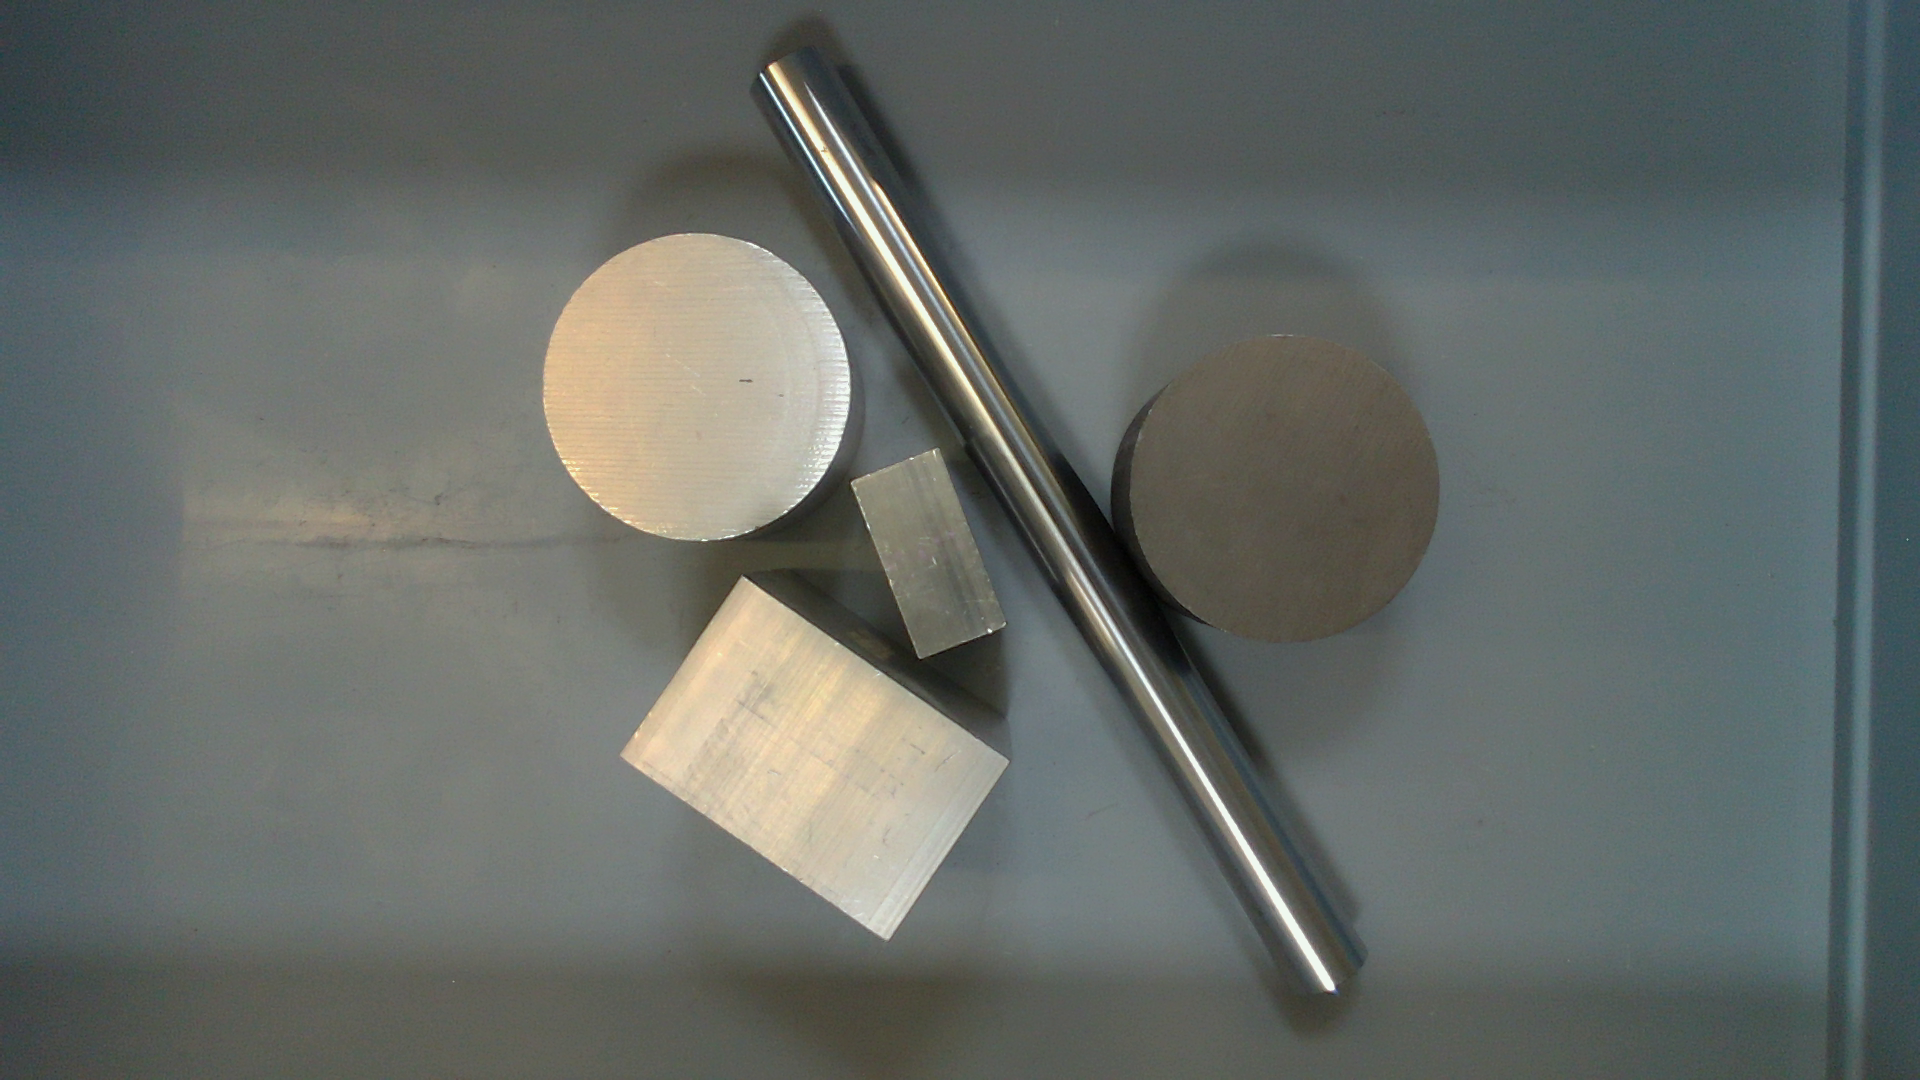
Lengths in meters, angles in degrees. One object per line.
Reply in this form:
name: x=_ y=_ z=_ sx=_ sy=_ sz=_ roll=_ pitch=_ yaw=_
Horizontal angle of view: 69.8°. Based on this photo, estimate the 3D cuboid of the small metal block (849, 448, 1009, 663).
small metal block: x=-0.008 y=0.004 z=0.381 sx=0.025 sy=0.050 sz=0.050 roll=-21 pitch=90 yaw=0

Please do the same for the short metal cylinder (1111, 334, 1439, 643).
short metal cylinder: x=0.085 y=-0.013 z=0.382 sx=0.080 sy=0.050 sz=0.080 roll=0 pitch=90 yaw=0

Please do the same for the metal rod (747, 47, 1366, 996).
metal rod: x=0.028 y=-0.005 z=0.394 sx=0.025 sy=0.025 sz=0.300 roll=-31 pitch=90 yaw=0

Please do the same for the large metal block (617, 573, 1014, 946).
large metal block: x=-0.034 y=0.053 z=0.366 sx=0.080 sy=0.080 sz=0.050 roll=34 pitch=91 yaw=0

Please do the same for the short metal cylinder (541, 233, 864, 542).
short metal cylinder: x=-0.068 y=-0.040 z=0.381 sx=0.080 sy=0.050 sz=0.080 roll=0 pitch=90 yaw=0
